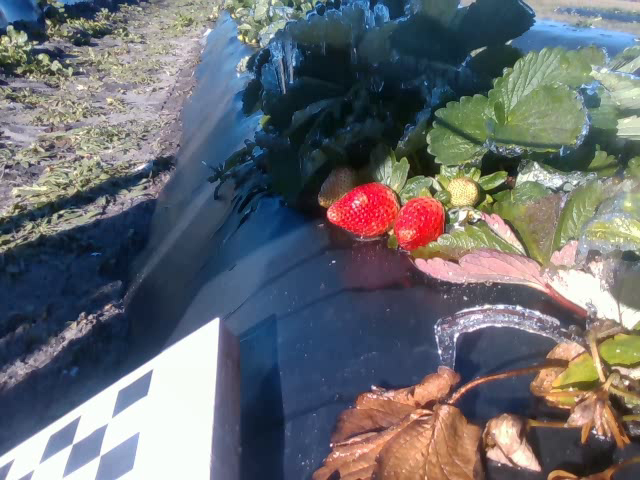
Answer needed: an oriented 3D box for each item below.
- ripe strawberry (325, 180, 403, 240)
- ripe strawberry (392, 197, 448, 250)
[{"bbox_3d":[0.023,-0.016,0.376,0.051,0.040,0.036,-8,5,-38],"label":"ripe strawberry"},{"bbox_3d":[0.058,-0.009,0.359,0.036,0.030,0.041,-20,24,32],"label":"ripe strawberry"}]
